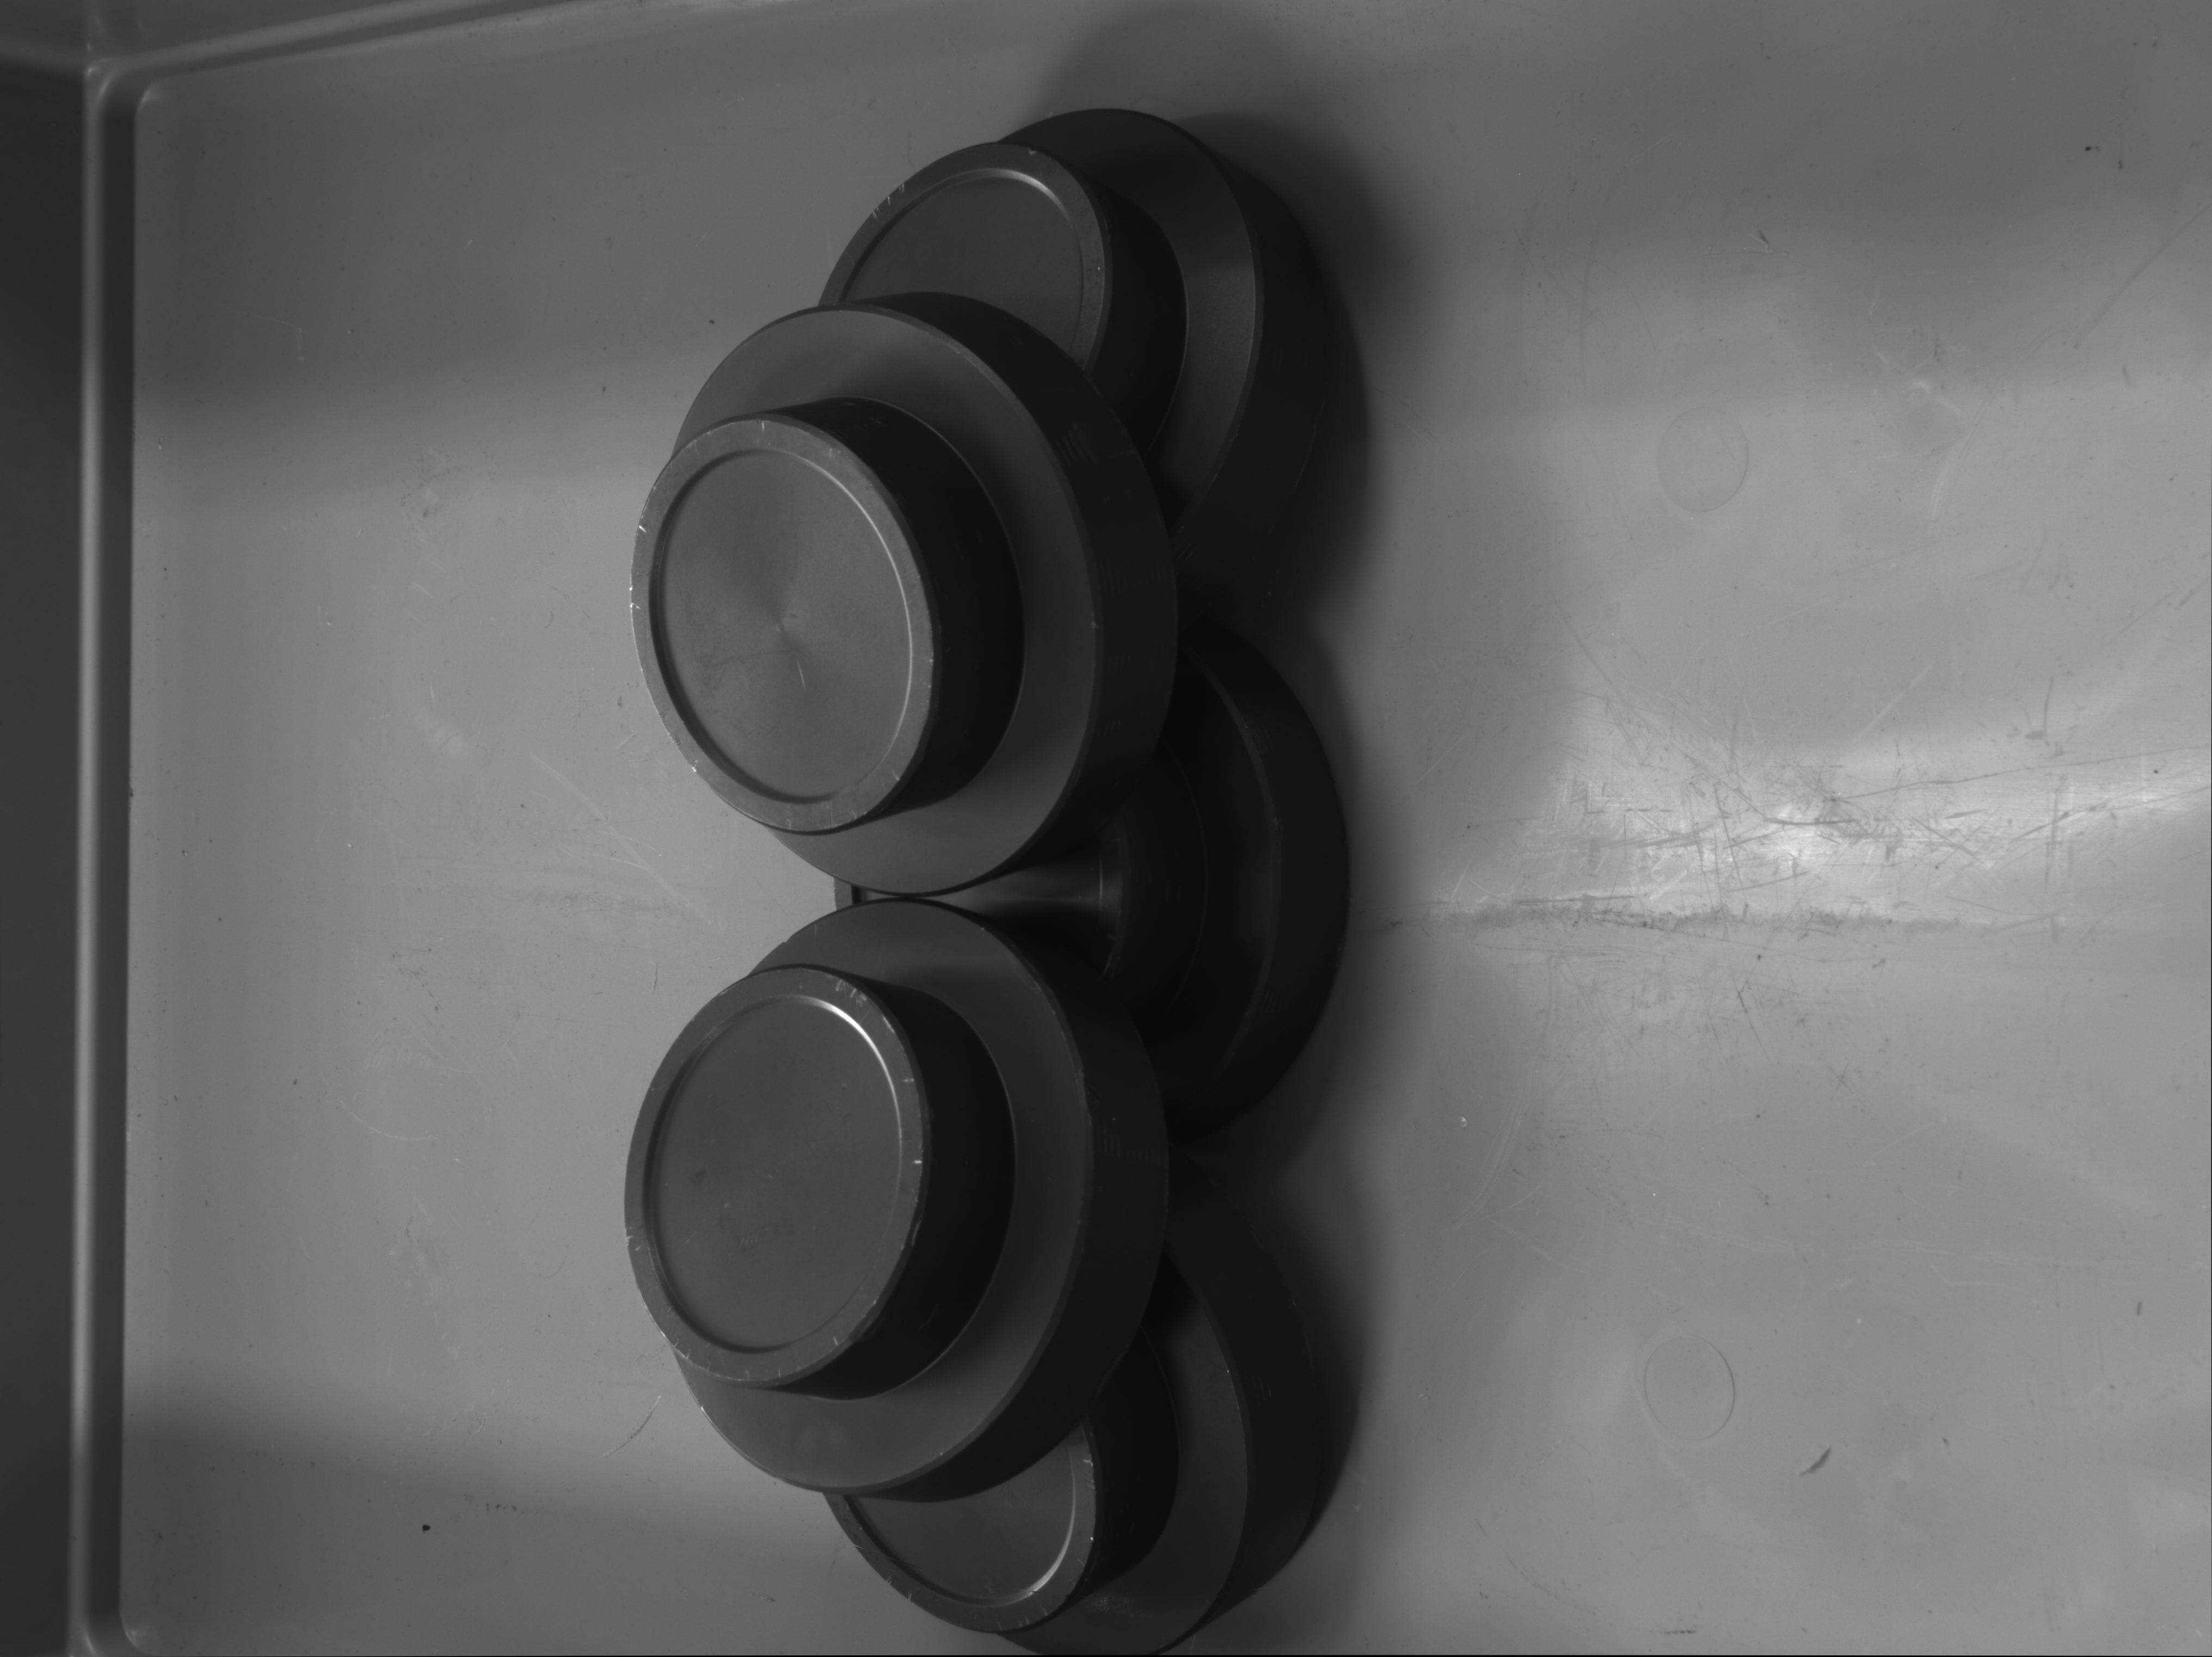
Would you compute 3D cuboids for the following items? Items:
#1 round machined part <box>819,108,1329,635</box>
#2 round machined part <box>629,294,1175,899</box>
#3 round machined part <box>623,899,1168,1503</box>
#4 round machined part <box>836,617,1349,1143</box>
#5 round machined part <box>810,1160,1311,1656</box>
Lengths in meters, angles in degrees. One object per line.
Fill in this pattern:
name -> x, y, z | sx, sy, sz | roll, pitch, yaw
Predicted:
round machined part -> -0.013, -0.079, 0.630 | 0.098, 0.042, 0.098 | -15, 64, 35
round machined part -> -0.040, -0.036, 0.599 | 0.098, 0.042, 0.098 | 12, 110, 37
round machined part -> -0.041, 0.059, 0.600 | 0.098, 0.042, 0.098 | -11, 71, 38
round machined part -> -0.009, 0.008, 0.640 | 0.098, 0.042, 0.098 | -1, 88, 40
round machined part -> -0.016, 0.100, 0.628 | 0.098, 0.042, 0.098 | 15, 114, 36
